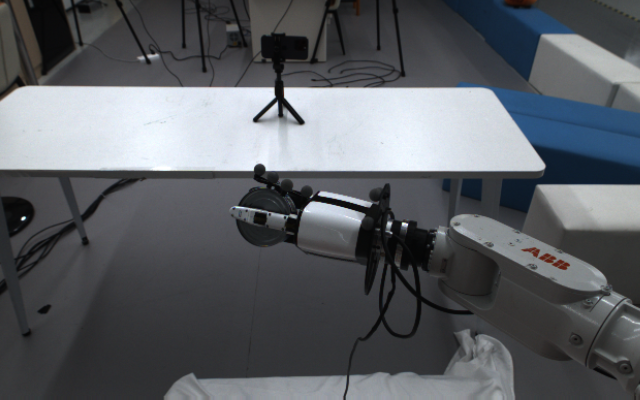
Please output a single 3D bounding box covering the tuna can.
[{"bbox_3d":[-0.076,0.025,0.708,0.085,0.085,0.034,13,3,16],"label":"tuna can"}]
